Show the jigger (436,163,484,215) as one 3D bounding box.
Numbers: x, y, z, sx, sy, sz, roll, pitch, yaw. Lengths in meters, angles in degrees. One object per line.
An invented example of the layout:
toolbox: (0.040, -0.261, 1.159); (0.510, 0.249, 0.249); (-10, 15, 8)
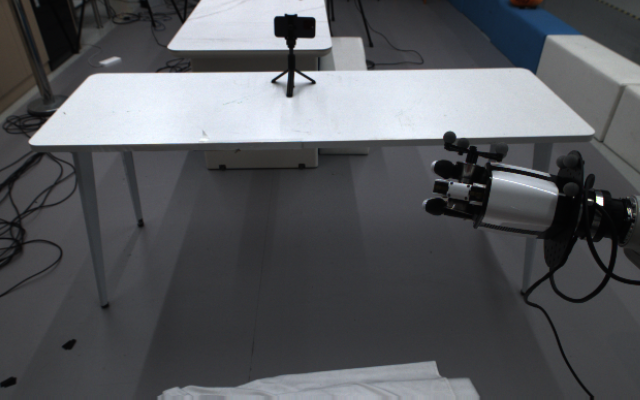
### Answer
jigger: (0.205, -0.017, 0.679); (0.043, 0.071, 0.043); (14, 1, 0)
